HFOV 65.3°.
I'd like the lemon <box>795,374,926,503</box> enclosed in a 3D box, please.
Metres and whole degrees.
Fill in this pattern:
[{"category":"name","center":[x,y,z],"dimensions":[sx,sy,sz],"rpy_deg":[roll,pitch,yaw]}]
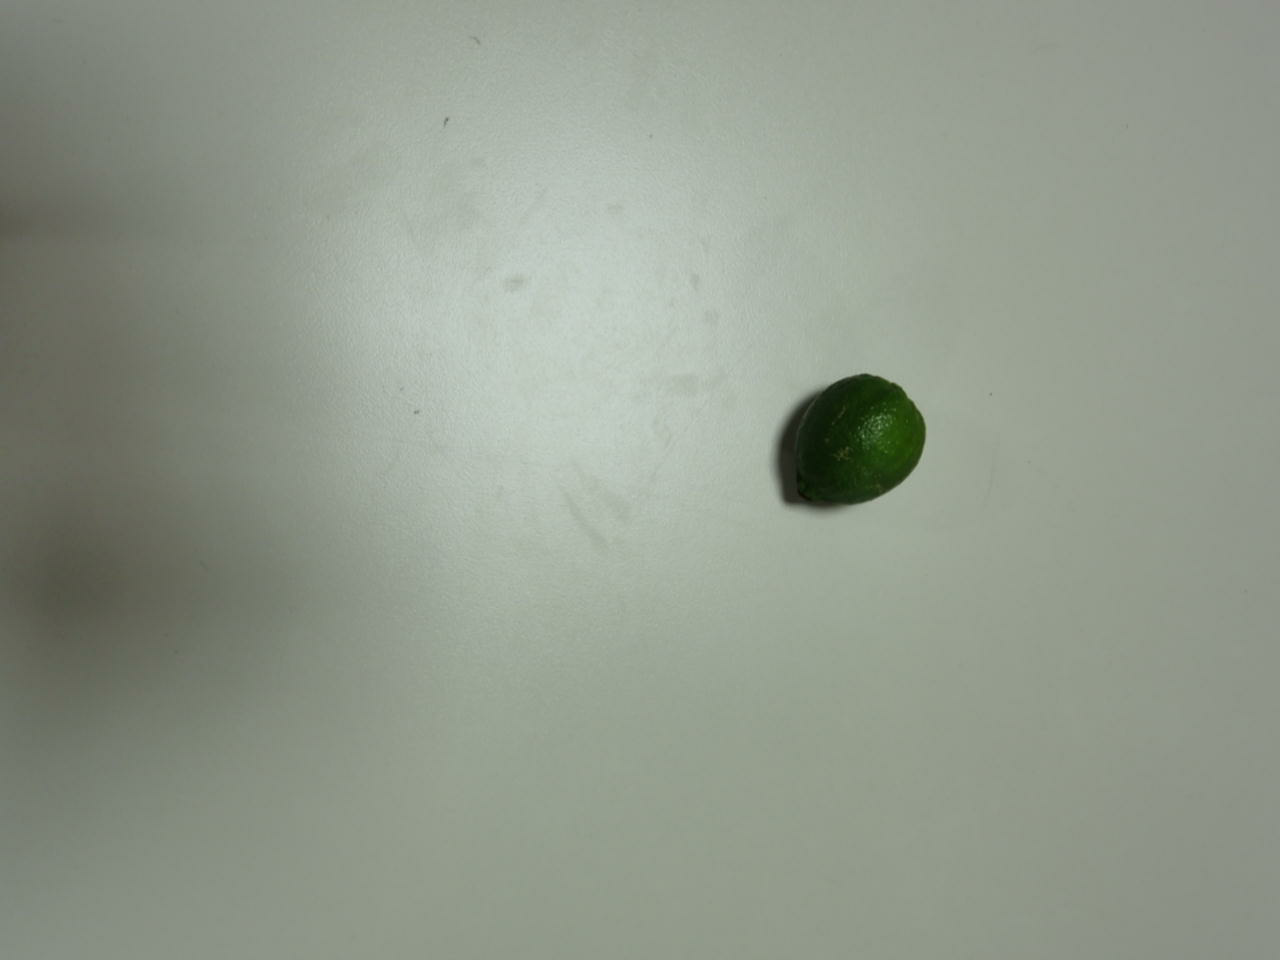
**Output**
[{"category":"lemon","center":[0.096,-0.018,0.437],"dimensions":[0.054,0.051,0.057],"rpy_deg":[6,89,-12]}]
